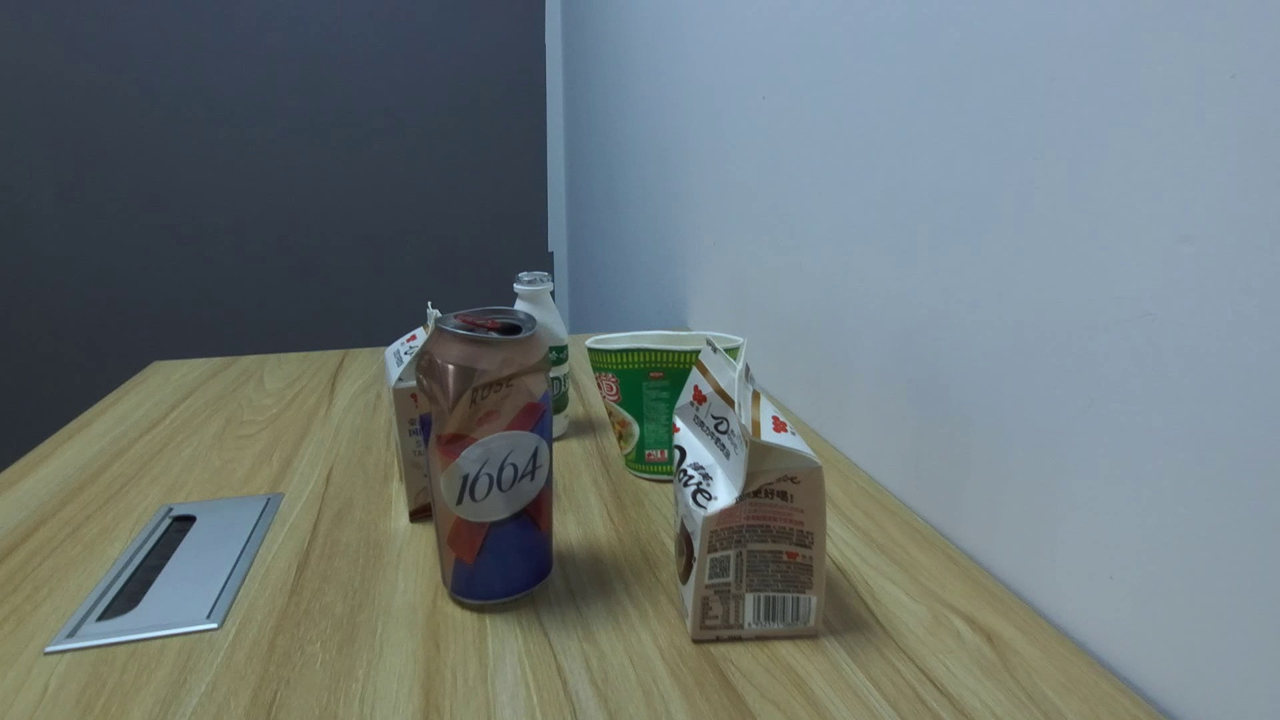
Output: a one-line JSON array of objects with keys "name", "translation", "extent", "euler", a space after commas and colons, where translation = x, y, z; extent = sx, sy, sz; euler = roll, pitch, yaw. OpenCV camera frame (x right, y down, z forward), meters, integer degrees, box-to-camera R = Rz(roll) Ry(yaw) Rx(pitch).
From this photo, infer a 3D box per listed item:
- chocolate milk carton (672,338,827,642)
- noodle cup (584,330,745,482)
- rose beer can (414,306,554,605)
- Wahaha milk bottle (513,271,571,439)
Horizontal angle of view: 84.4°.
[{"name": "chocolate milk carton", "translation": [0.057, 0.066, 0.384], "extent": [0.074, 0.155, 0.076], "euler": [-3, 20, -3]}, {"name": "noodle cup", "translation": [0.019, 0.034, 0.560], "extent": [0.114, 0.111, 0.070], "euler": [5, 15, 21]}, {"name": "rose beer can", "translation": [-0.084, 0.057, 0.403], "extent": [0.076, 0.167, 0.065], "euler": [-9, 22, -34]}, {"name": "Wahaha milk bottle", "translation": [-0.091, -0.004, 0.627], "extent": [0.056, 0.147, 0.056], "euler": [1, 20, 0]}]
